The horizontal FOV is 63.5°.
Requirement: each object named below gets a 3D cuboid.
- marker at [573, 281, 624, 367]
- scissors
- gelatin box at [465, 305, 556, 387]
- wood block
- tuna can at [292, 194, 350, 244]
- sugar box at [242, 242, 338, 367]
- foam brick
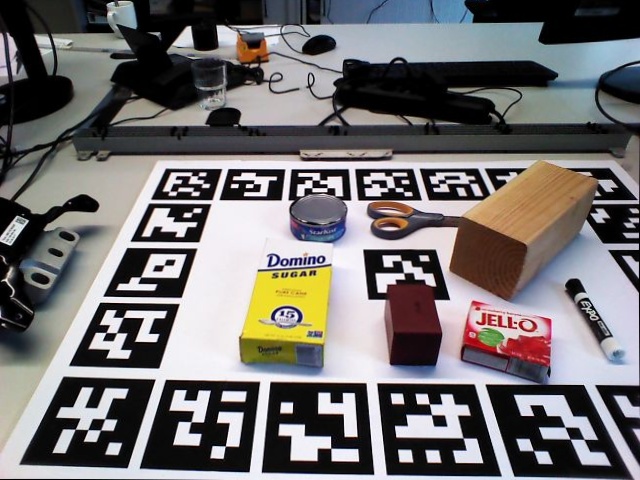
[{"bbox_3d":[0.325,0.094,0.607,0.020,0.020,0.120,1,41,4],"label":"marker"},{"bbox_3d":[0.176,-0.027,0.771,0.203,0.016,0.087,3,39,10],"label":"scissors"},{"bbox_3d":[0.214,0.115,0.579,0.090,0.030,0.073,12,41,18],"label":"gelatin box"},{"bbox_3d":[0.291,-0.014,0.695,0.205,0.091,0.090,-31,46,-32],"label":"wood block"},{"bbox_3d":[0.002,-0.031,0.766,0.086,0.034,0.085,-2,39,1],"label":"tuna can"},{"bbox_3d":[-0.030,0.072,0.635,0.093,0.045,0.175,3,39,6],"label":"sugar box"},{"bbox_3d":[0.110,0.098,0.583,0.053,0.051,0.077,1,40,4],"label":"foam brick"}]
